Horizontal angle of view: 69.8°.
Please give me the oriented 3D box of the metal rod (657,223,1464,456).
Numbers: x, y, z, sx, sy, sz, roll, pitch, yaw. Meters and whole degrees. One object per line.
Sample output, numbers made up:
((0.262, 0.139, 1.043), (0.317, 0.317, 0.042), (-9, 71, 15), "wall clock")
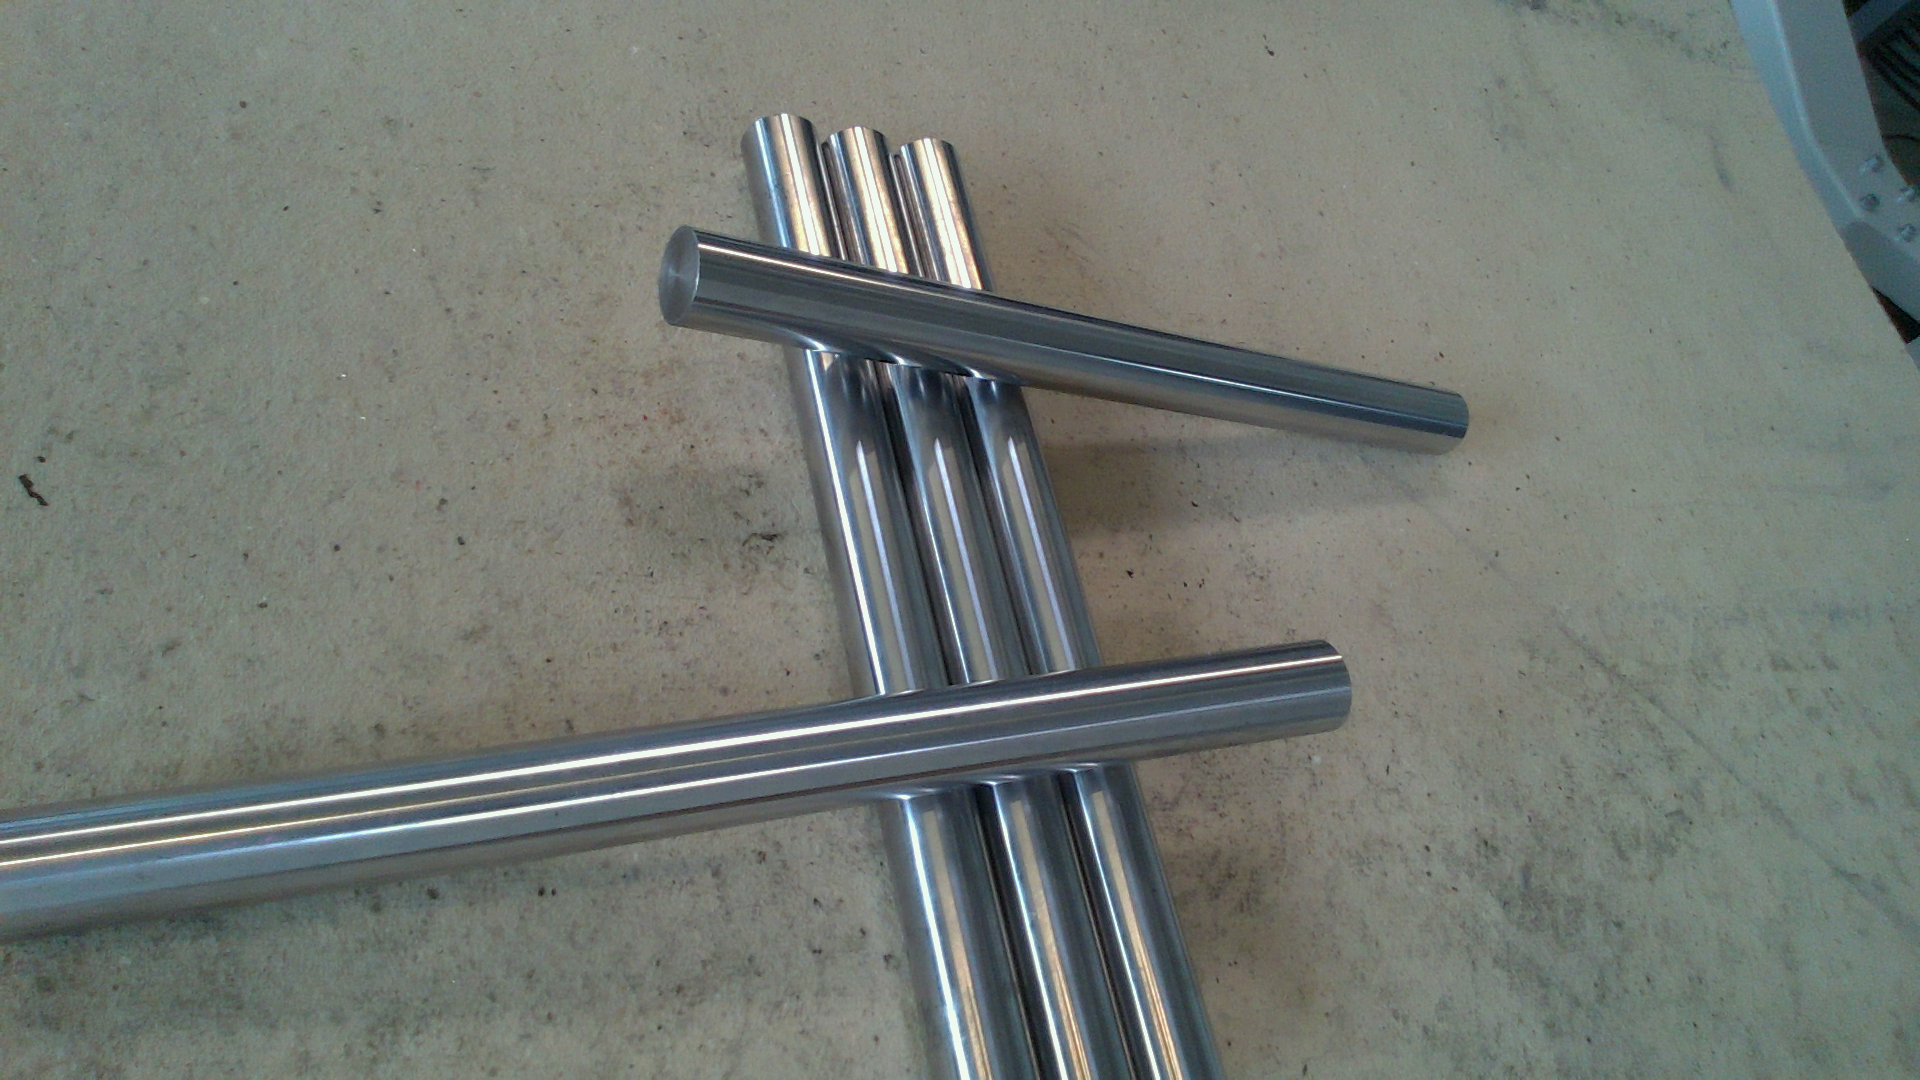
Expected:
((0.053, -0.055, 0.427), (0.301, 0.025, 0.025), (5, 59, -34), "metal rod")

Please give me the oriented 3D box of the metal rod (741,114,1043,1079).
((-0.023, 0.006, 0.373), (0.025, 0.025, 0.300), (0, 62, -28), "metal rod")

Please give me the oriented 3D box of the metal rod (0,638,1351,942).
((-0.042, 0.050, 0.312), (0.301, 0.025, 0.025), (-5, 64, -22), "metal rod")

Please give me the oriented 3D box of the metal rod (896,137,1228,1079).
((0.021, 0.006, 0.396), (0.025, 0.025, 0.300), (0, 62, -28), "metal rod")

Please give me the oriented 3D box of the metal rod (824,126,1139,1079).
((-0.001, 0.006, 0.384), (0.025, 0.025, 0.300), (0, 62, -28), "metal rod")
